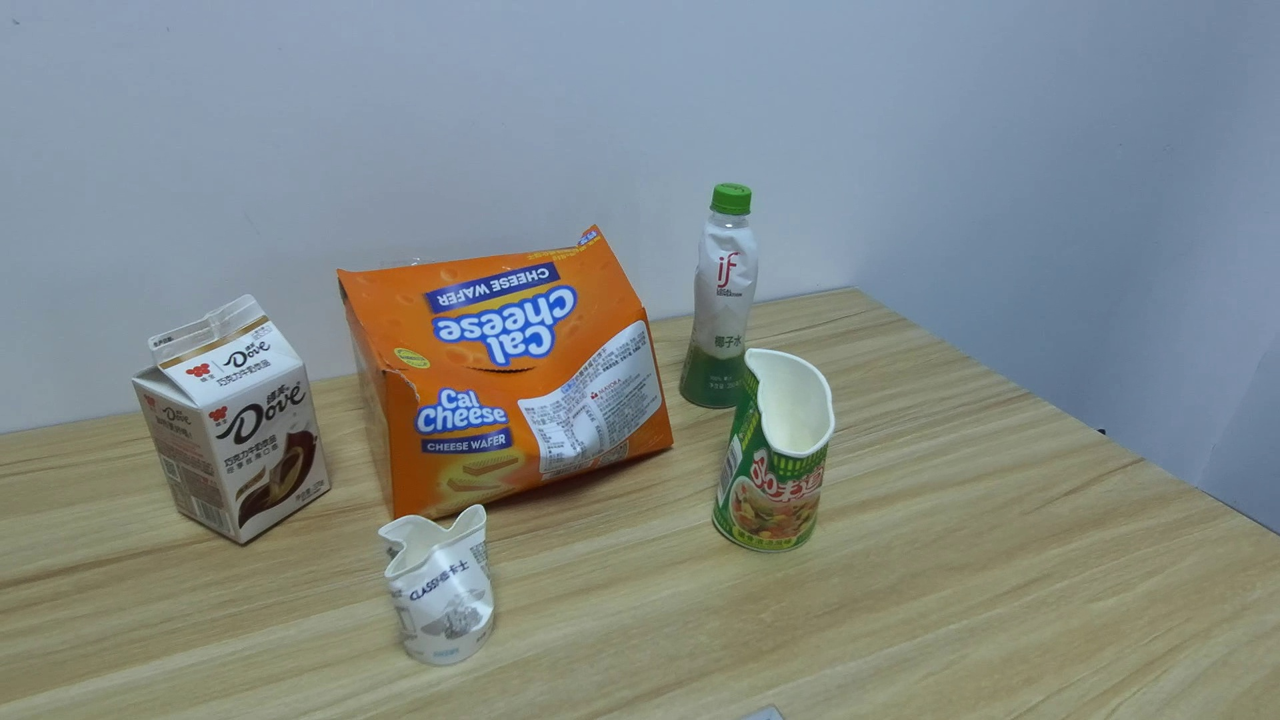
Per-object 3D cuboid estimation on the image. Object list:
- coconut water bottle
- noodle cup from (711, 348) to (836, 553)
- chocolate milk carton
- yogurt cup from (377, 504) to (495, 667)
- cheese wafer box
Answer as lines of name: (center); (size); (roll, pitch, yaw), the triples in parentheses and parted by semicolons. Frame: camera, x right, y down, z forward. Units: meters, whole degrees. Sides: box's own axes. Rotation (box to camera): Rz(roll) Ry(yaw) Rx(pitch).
coconut water bottle: (0.071, -0.053, 0.601); (0.067, 0.187, 0.067); (2, 28, -1)
noodle cup: (0.088, 0.066, 0.467); (0.070, 0.111, 0.115); (11, 31, 18)
chocolate milk carton: (-0.269, 0.035, 0.467); (0.074, 0.148, 0.075); (16, 31, 24)
yogurt cup: (-0.111, 0.124, 0.395); (0.055, 0.072, 0.055); (-8, 29, -14)
cheese wafer box: (-0.093, 0.006, 0.537); (0.220, 0.145, 0.190); (-13, 32, -23)
